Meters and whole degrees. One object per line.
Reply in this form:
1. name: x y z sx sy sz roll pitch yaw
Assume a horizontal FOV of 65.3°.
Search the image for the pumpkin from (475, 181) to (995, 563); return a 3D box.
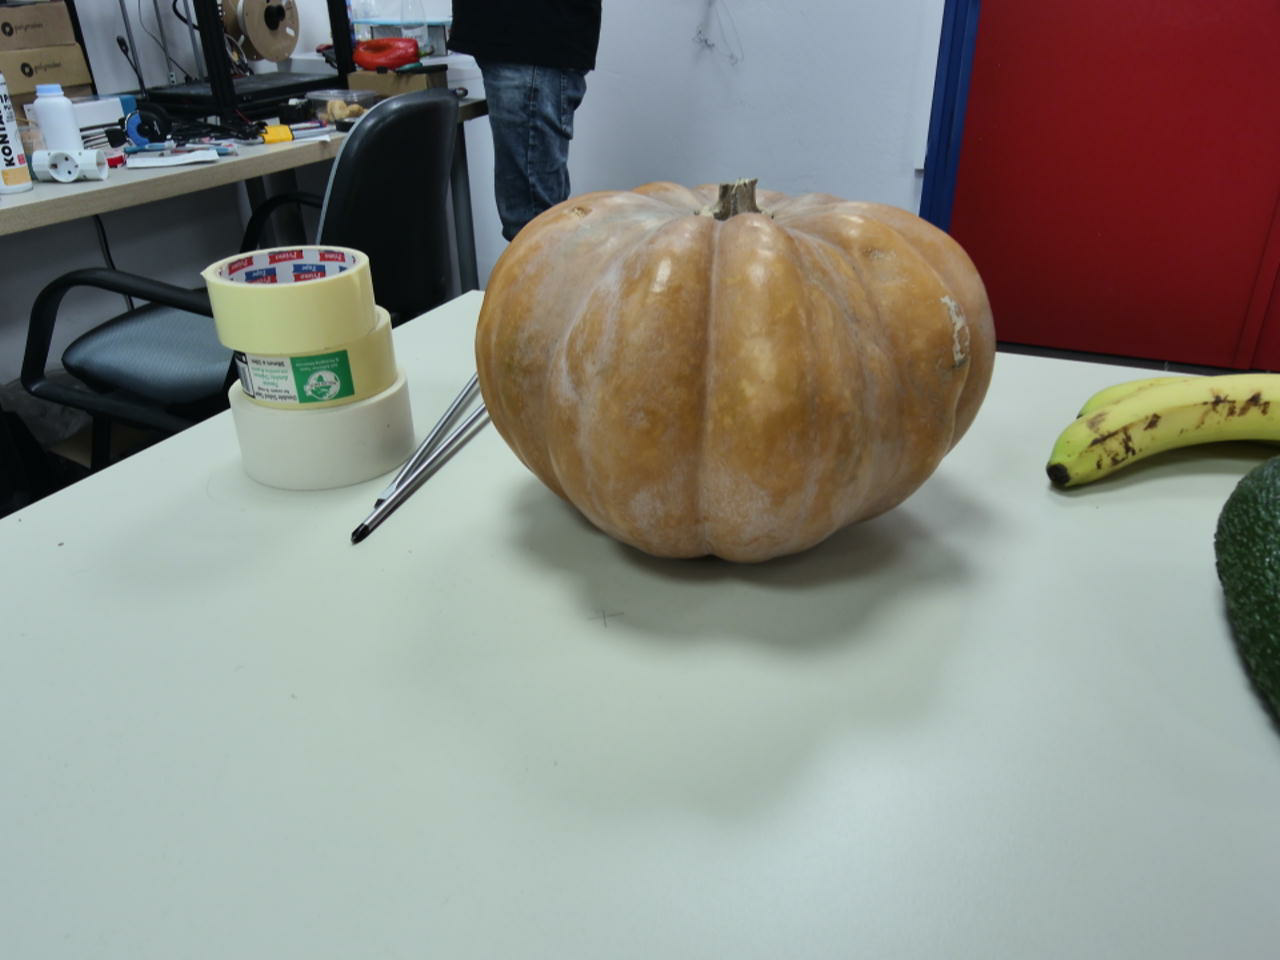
1. pumpkin: 0.044 -0.067 0.536 0.277 0.181 0.277 0 25 0
